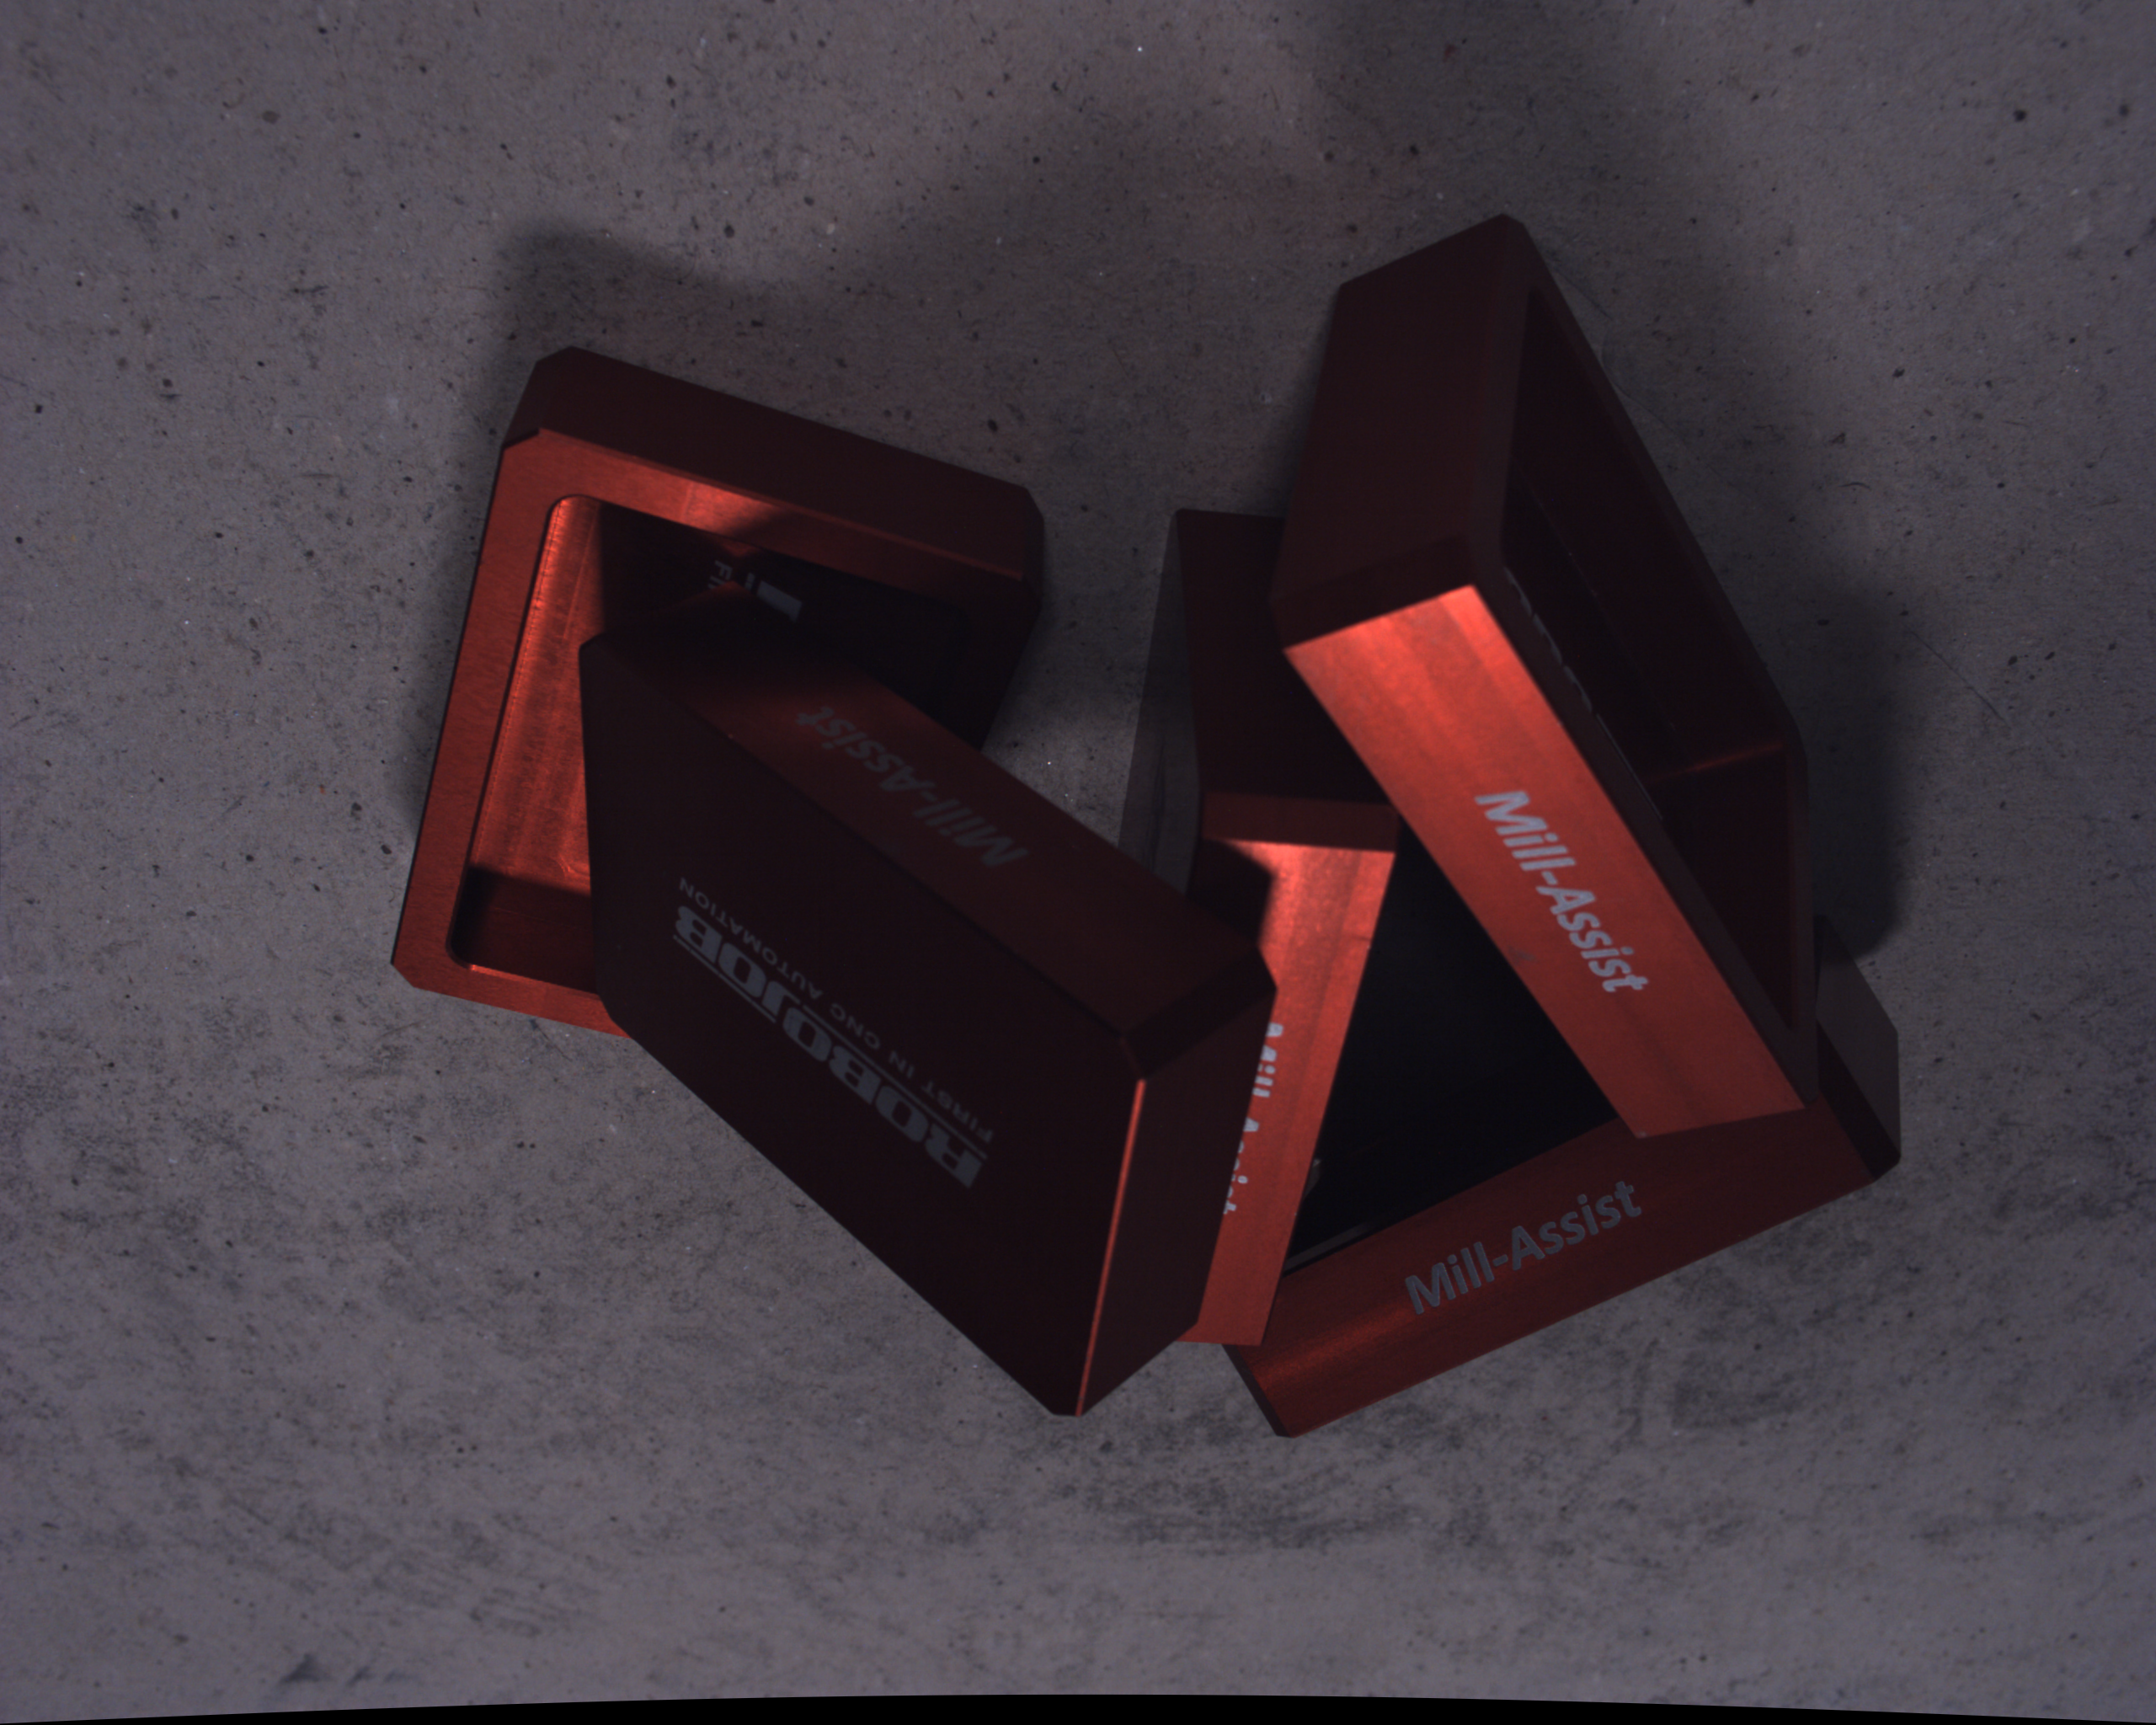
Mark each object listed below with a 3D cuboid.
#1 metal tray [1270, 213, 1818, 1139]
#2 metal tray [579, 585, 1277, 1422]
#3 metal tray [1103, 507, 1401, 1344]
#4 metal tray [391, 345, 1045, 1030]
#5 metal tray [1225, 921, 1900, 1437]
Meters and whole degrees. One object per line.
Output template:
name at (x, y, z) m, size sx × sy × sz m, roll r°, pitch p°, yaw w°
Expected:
metal tray at (0.082, -0.027, 0.341) m, size 0.030 × 0.090 × 0.130 m, roll -17°, pitch 130°, yaw 32°
metal tray at (-0.032, 0.022, 0.353) m, size 0.130 × 0.030 × 0.089 m, roll 36°, pitch 137°, yaw 28°
metal tray at (0.025, 0.013, 0.378) m, size 0.030 × 0.090 × 0.129 m, roll 5°, pitch 131°, yaw -5°
metal tray at (-0.069, -0.021, 0.387) m, size 0.091 × 0.030 × 0.129 m, roll 15°, pitch 128°, yaw -13°
metal tray at (0.097, 0.062, 0.420) m, size 0.130 × 0.090 × 0.030 m, roll -31°, pitch 89°, yaw 23°
